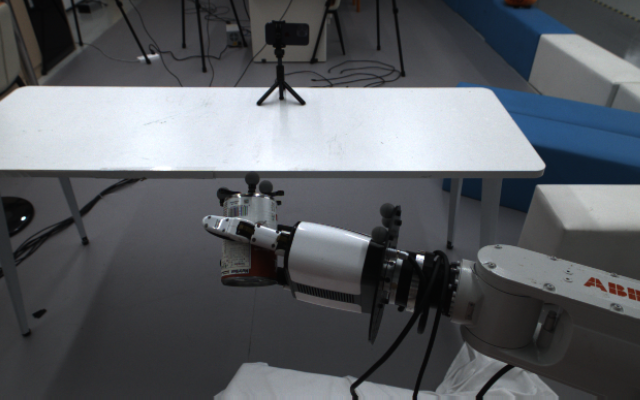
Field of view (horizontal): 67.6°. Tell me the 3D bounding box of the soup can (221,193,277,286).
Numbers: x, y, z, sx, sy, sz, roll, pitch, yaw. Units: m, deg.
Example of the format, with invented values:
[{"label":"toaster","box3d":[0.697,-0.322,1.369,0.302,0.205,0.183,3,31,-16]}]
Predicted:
[{"label":"soup can","box3d":[-0.082,0.050,0.581,0.067,0.067,0.101,-1,71,-5]}]
